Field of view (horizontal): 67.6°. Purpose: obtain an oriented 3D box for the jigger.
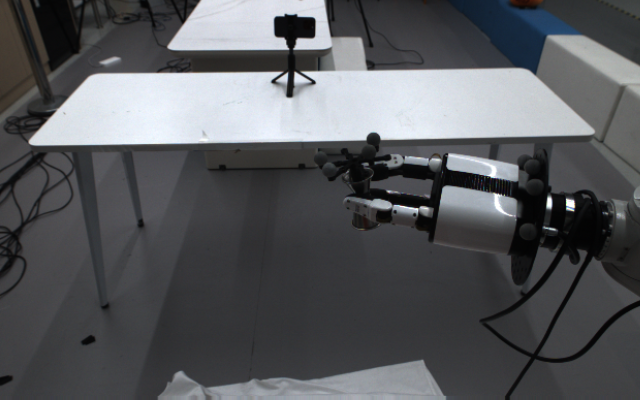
[{"bbox_3d":[0.054,-0.002,0.603,0.043,0.071,0.043,-12,29,7],"label":"jigger"}]
